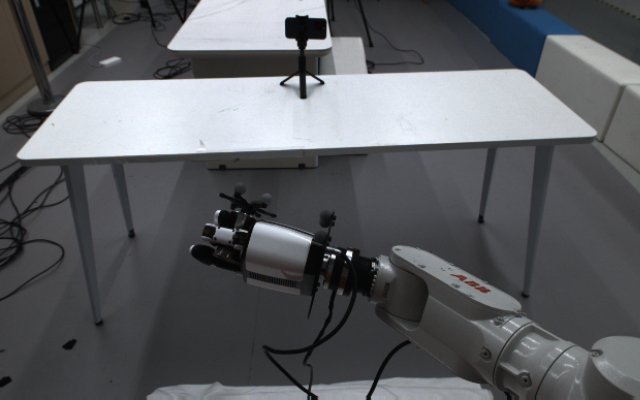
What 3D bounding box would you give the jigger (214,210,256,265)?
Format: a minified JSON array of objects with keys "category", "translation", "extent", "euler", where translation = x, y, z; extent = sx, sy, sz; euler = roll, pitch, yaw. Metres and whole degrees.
[{"category":"jigger","translation":[-0.122,0.053,0.695],"extent":[0.043,0.043,0.071],"euler":[15,70,18]}]
